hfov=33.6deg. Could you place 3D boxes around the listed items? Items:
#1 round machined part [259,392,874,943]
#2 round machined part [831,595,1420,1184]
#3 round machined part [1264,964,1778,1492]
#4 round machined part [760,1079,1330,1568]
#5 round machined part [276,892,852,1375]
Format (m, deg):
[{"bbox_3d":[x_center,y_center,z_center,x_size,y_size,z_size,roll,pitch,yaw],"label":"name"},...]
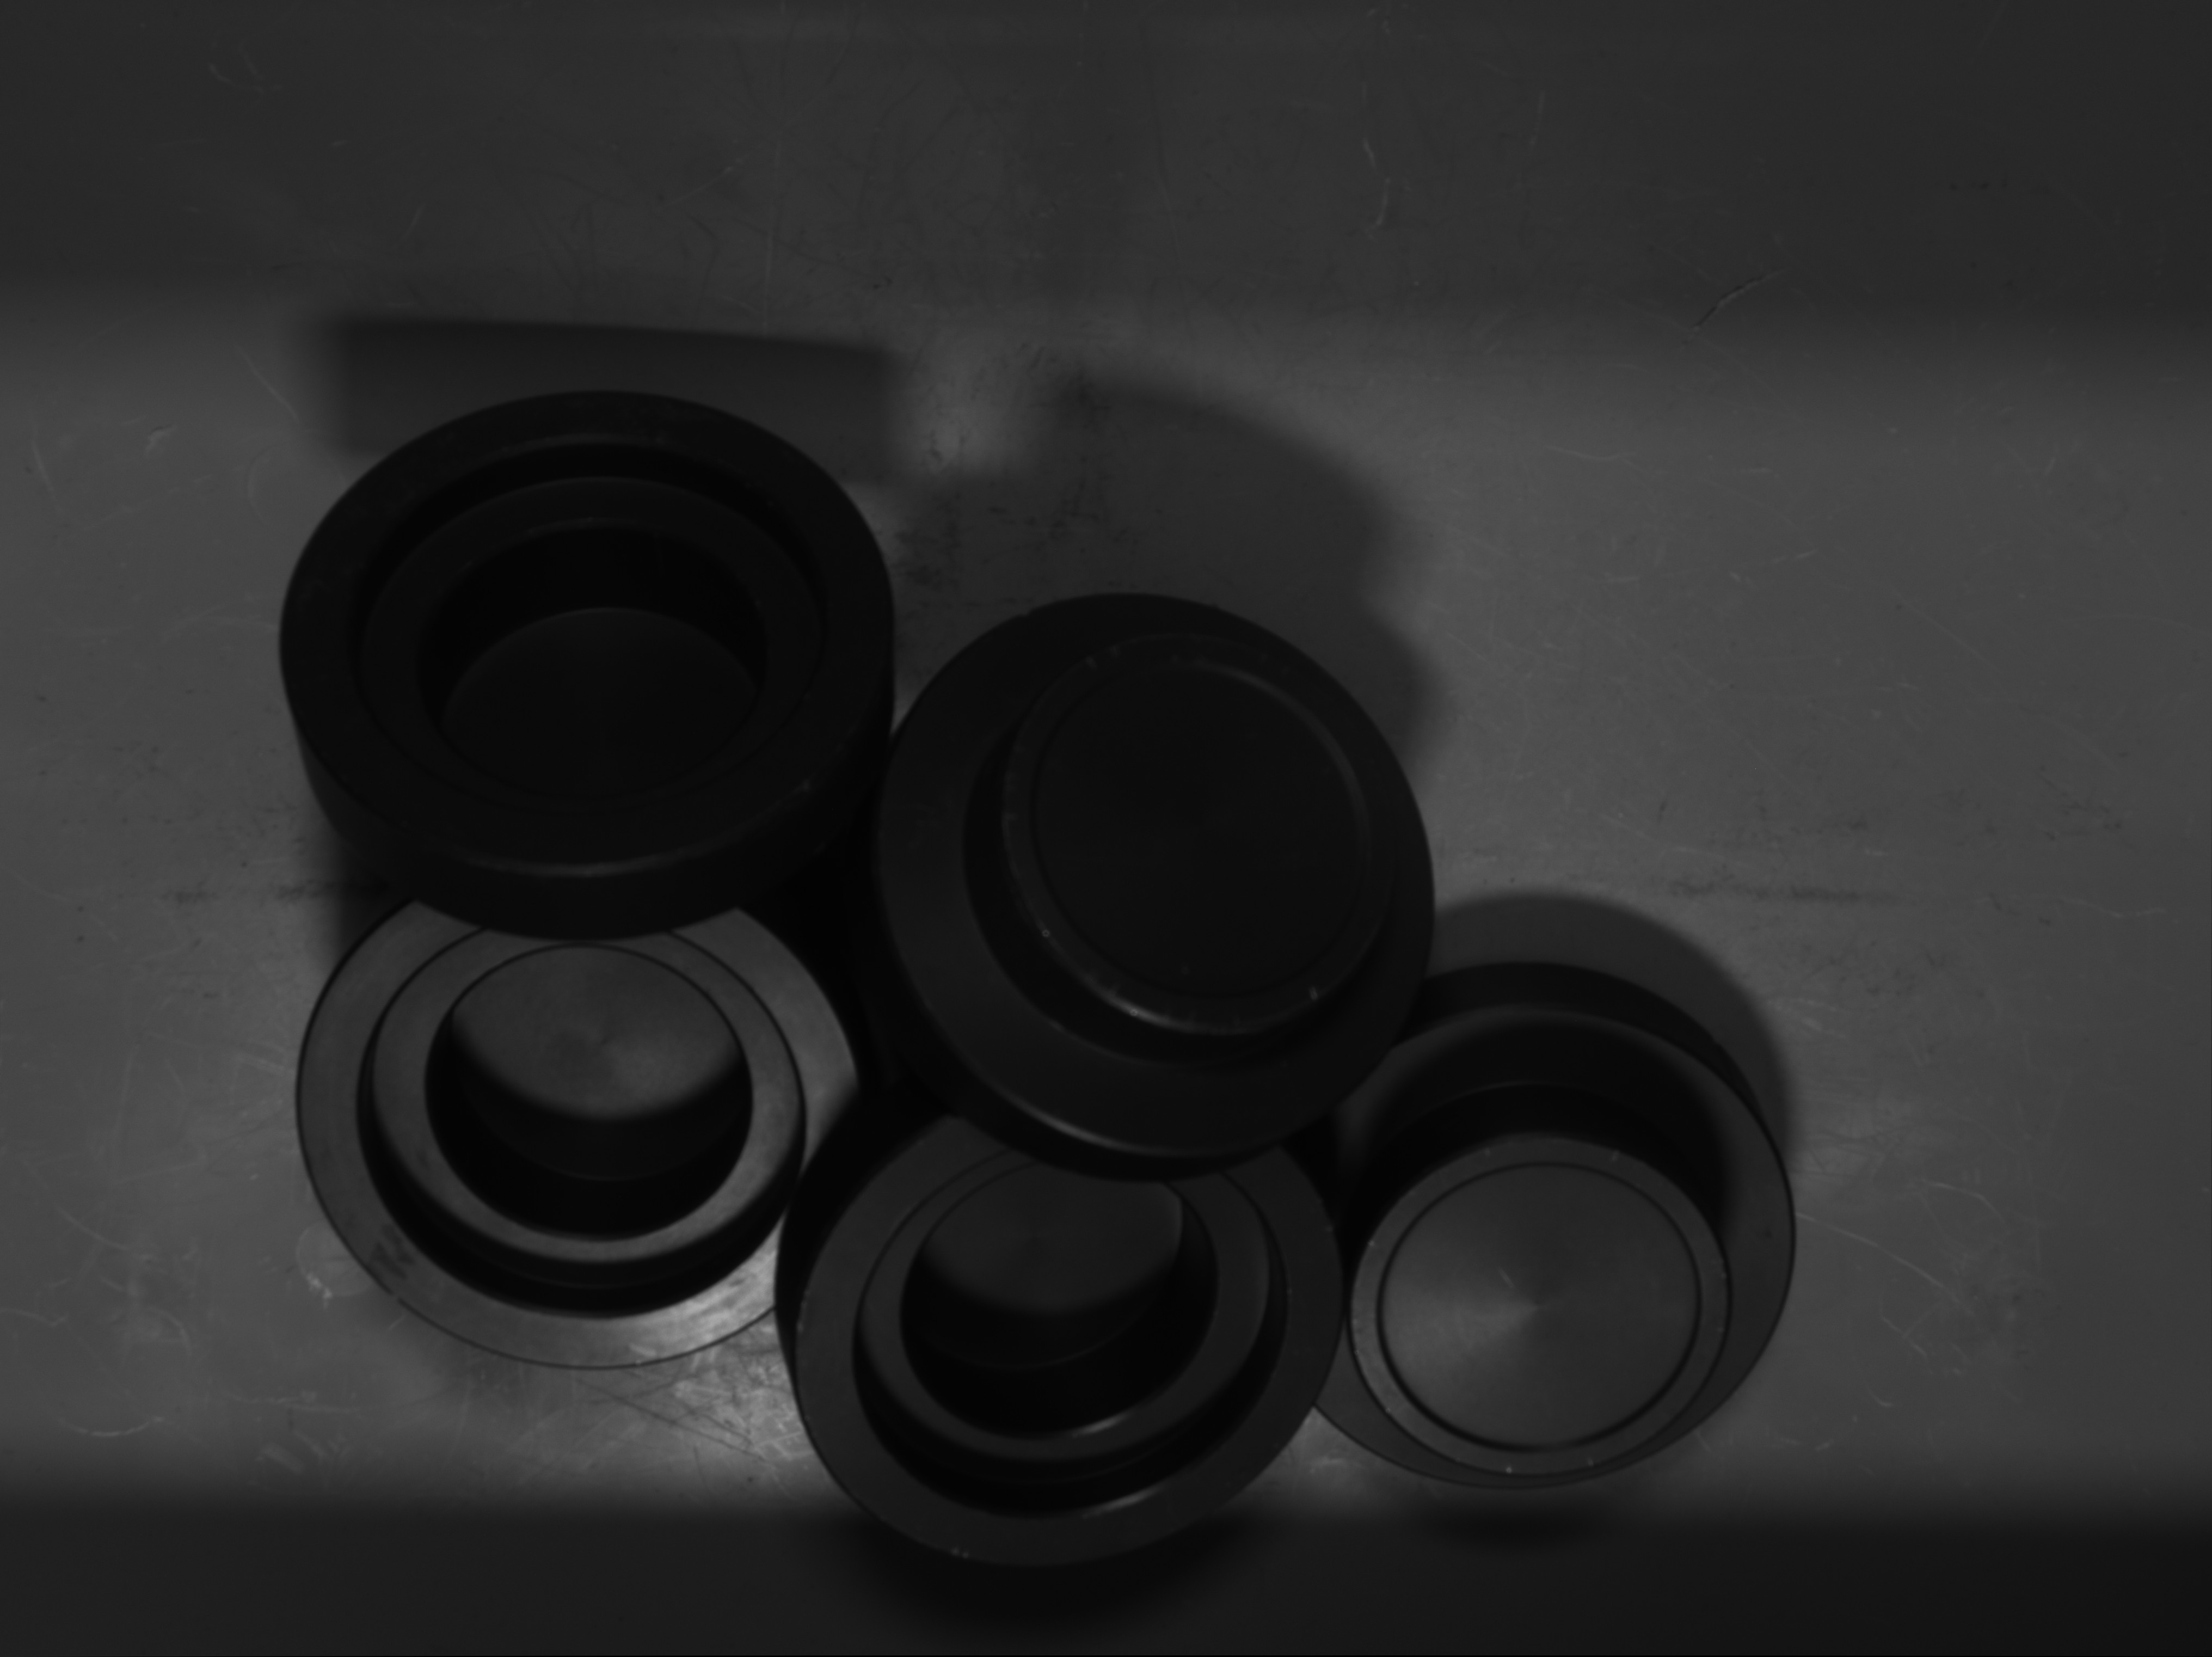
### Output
[{"bbox_3d":[-0.087,-0.022,0.605,0.098,0.098,0.042,3,145,-2],"label":"round machined part"},{"bbox_3d":[0.007,0.006,0.606,0.098,0.042,0.098,6,70,-16],"label":"round machined part"},{"bbox_3d":[0.073,0.077,0.661,0.098,0.042,0.098,0,110,-1],"label":"round machined part"},{"bbox_3d":[-0.013,0.079,0.649,0.098,0.042,0.098,-6,117,-12],"label":"round machined part"},{"bbox_3d":[-0.093,0.043,0.647,0.098,0.042,0.098,0,110,-1],"label":"round machined part"}]
